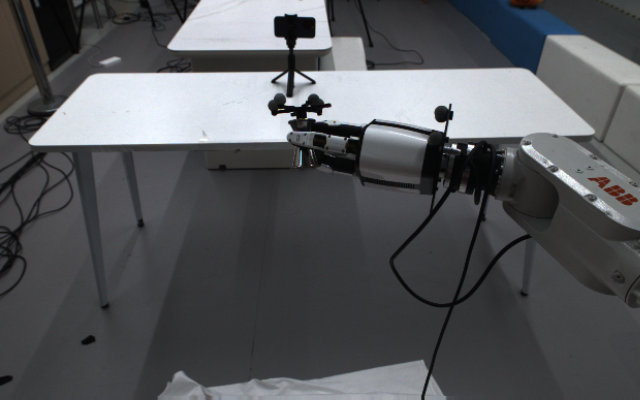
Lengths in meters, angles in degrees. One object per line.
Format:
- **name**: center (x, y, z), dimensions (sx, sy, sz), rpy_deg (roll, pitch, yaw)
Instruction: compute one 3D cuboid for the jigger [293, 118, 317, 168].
- **jigger**: center (-0.024, -0.081, 0.695), dimensions (0.043, 0.071, 0.043), rpy_deg (-4, 1, 0)
